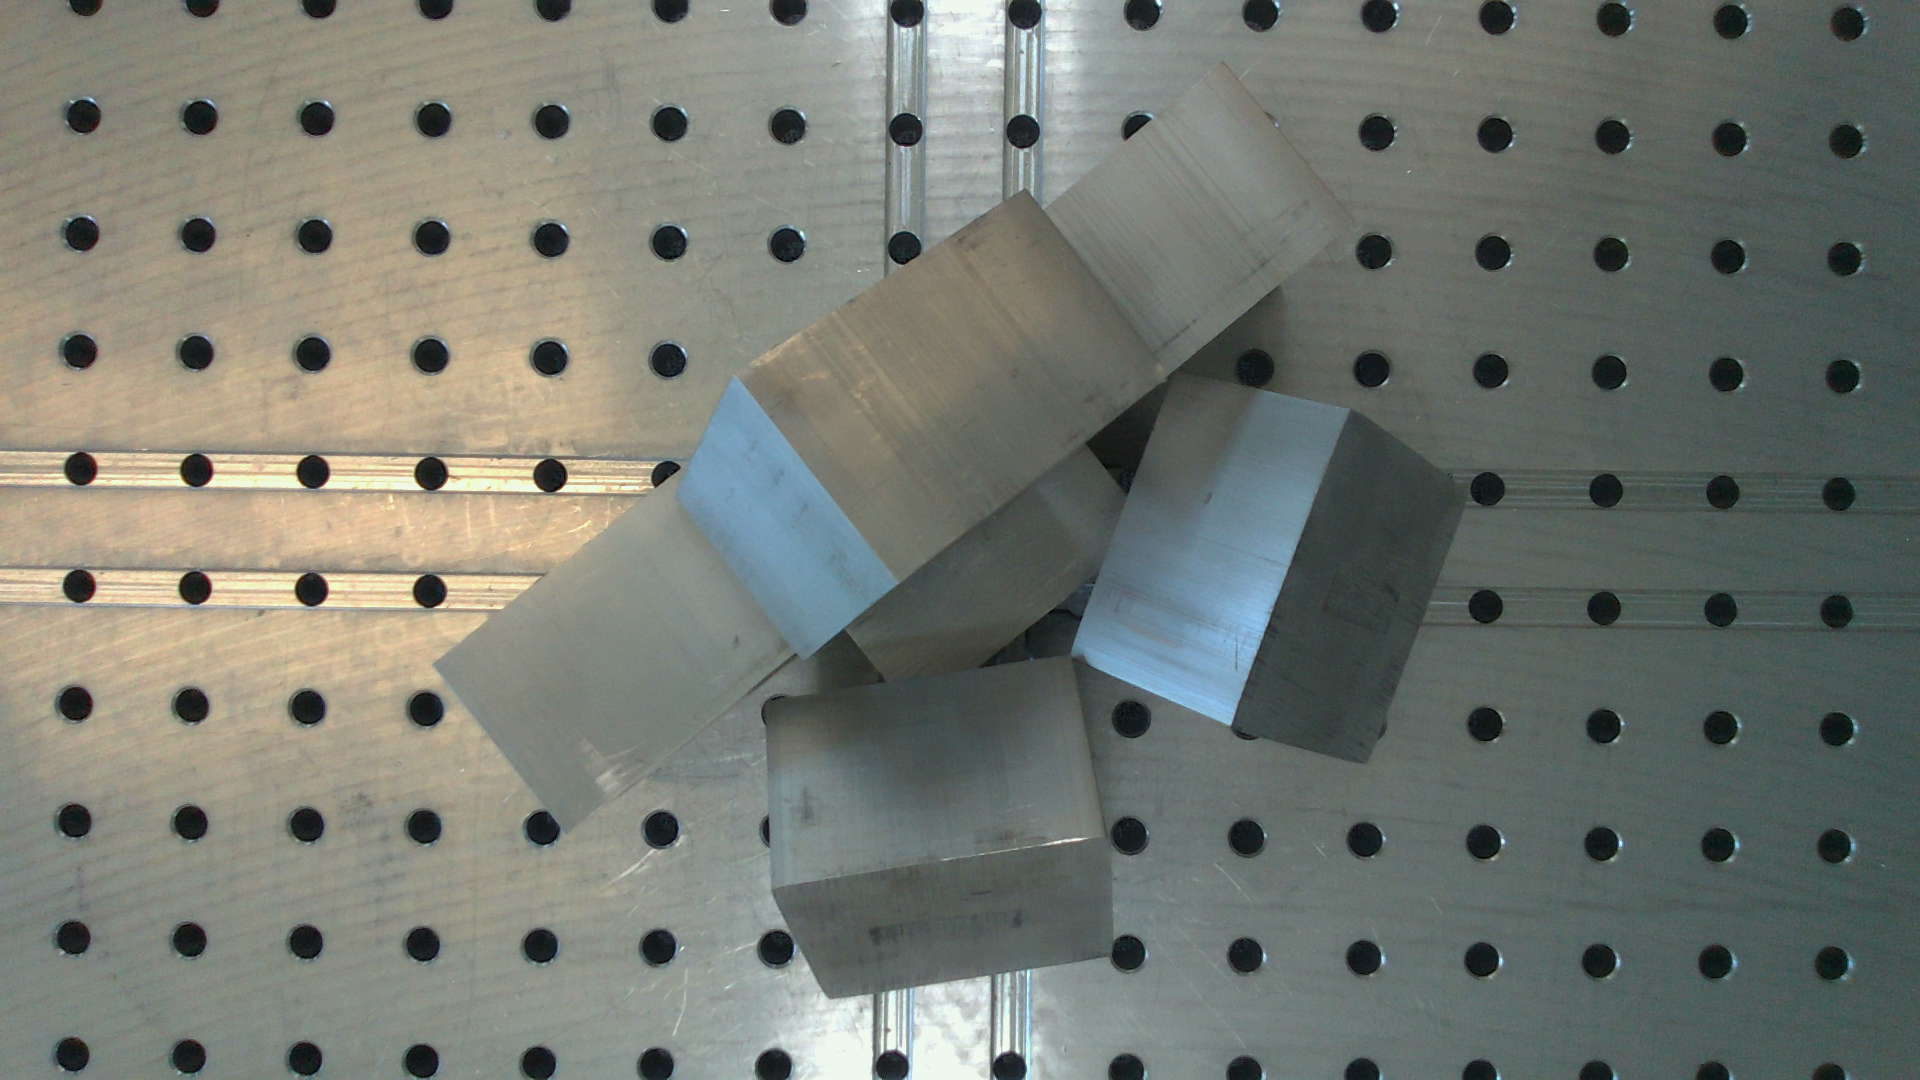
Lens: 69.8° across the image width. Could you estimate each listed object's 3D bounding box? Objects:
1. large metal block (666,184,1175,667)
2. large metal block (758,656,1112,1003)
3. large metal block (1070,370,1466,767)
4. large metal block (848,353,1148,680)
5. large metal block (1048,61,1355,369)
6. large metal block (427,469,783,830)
[{"bbox_3d":[-0.012,-0.022,0.307,0.080,0.080,0.050,-38,90,-25],"label":"large metal block"},{"bbox_3d":[-0.004,0.079,0.363,0.080,0.080,0.050,-9,54,0],"label":"large metal block"},{"bbox_3d":[0.083,0.009,0.363,0.050,0.080,0.080,21,90,41],"label":"large metal block"},{"bbox_3d":[-0.005,-0.009,0.386,0.080,0.050,0.080,-39,90,0],"label":"large metal block"},{"bbox_3d":[0.048,-0.070,0.370,0.080,0.080,0.050,-39,91,0],"label":"large metal block"},{"bbox_3d":[-0.080,0.025,0.369,0.080,0.080,0.050,-38,90,0],"label":"large metal block"}]
